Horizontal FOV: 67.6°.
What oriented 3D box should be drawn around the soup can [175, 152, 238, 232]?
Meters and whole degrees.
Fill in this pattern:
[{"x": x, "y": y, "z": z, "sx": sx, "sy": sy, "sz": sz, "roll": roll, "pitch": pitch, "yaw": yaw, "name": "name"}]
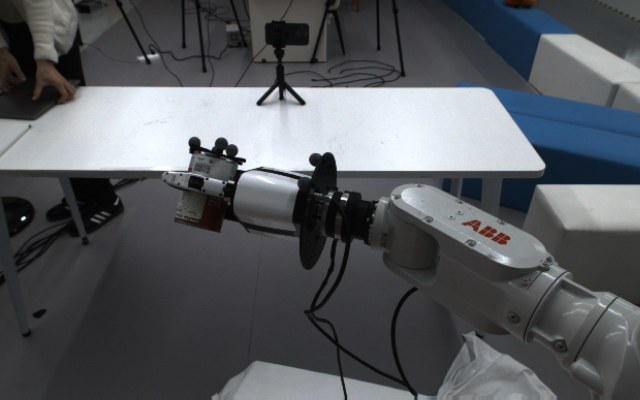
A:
[{"x": -0.159, "y": -0.009, "z": 0.681, "sx": 0.067, "sy": 0.101, "sz": 0.067, "roll": 13, "pitch": -6, "yaw": 1, "name": "soup can"}]
